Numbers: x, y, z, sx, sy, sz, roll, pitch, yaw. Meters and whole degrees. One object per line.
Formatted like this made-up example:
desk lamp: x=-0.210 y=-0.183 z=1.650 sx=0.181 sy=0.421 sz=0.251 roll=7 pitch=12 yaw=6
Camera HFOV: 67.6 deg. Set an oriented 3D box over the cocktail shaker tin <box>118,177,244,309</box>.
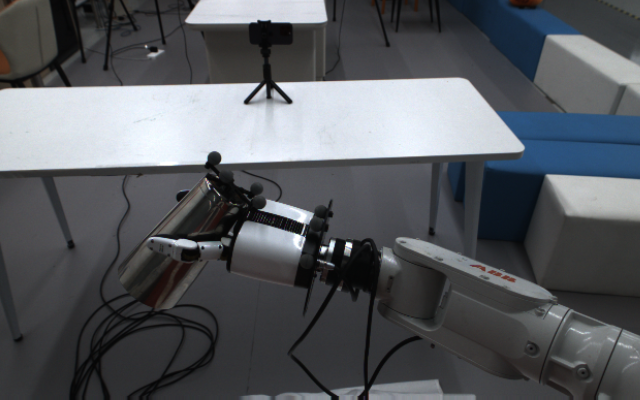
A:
cocktail shaker tin: x=-0.173 y=0.048 z=0.632 sx=0.093 sy=0.170 sz=0.093 roll=41 pitch=13 yaw=-11
